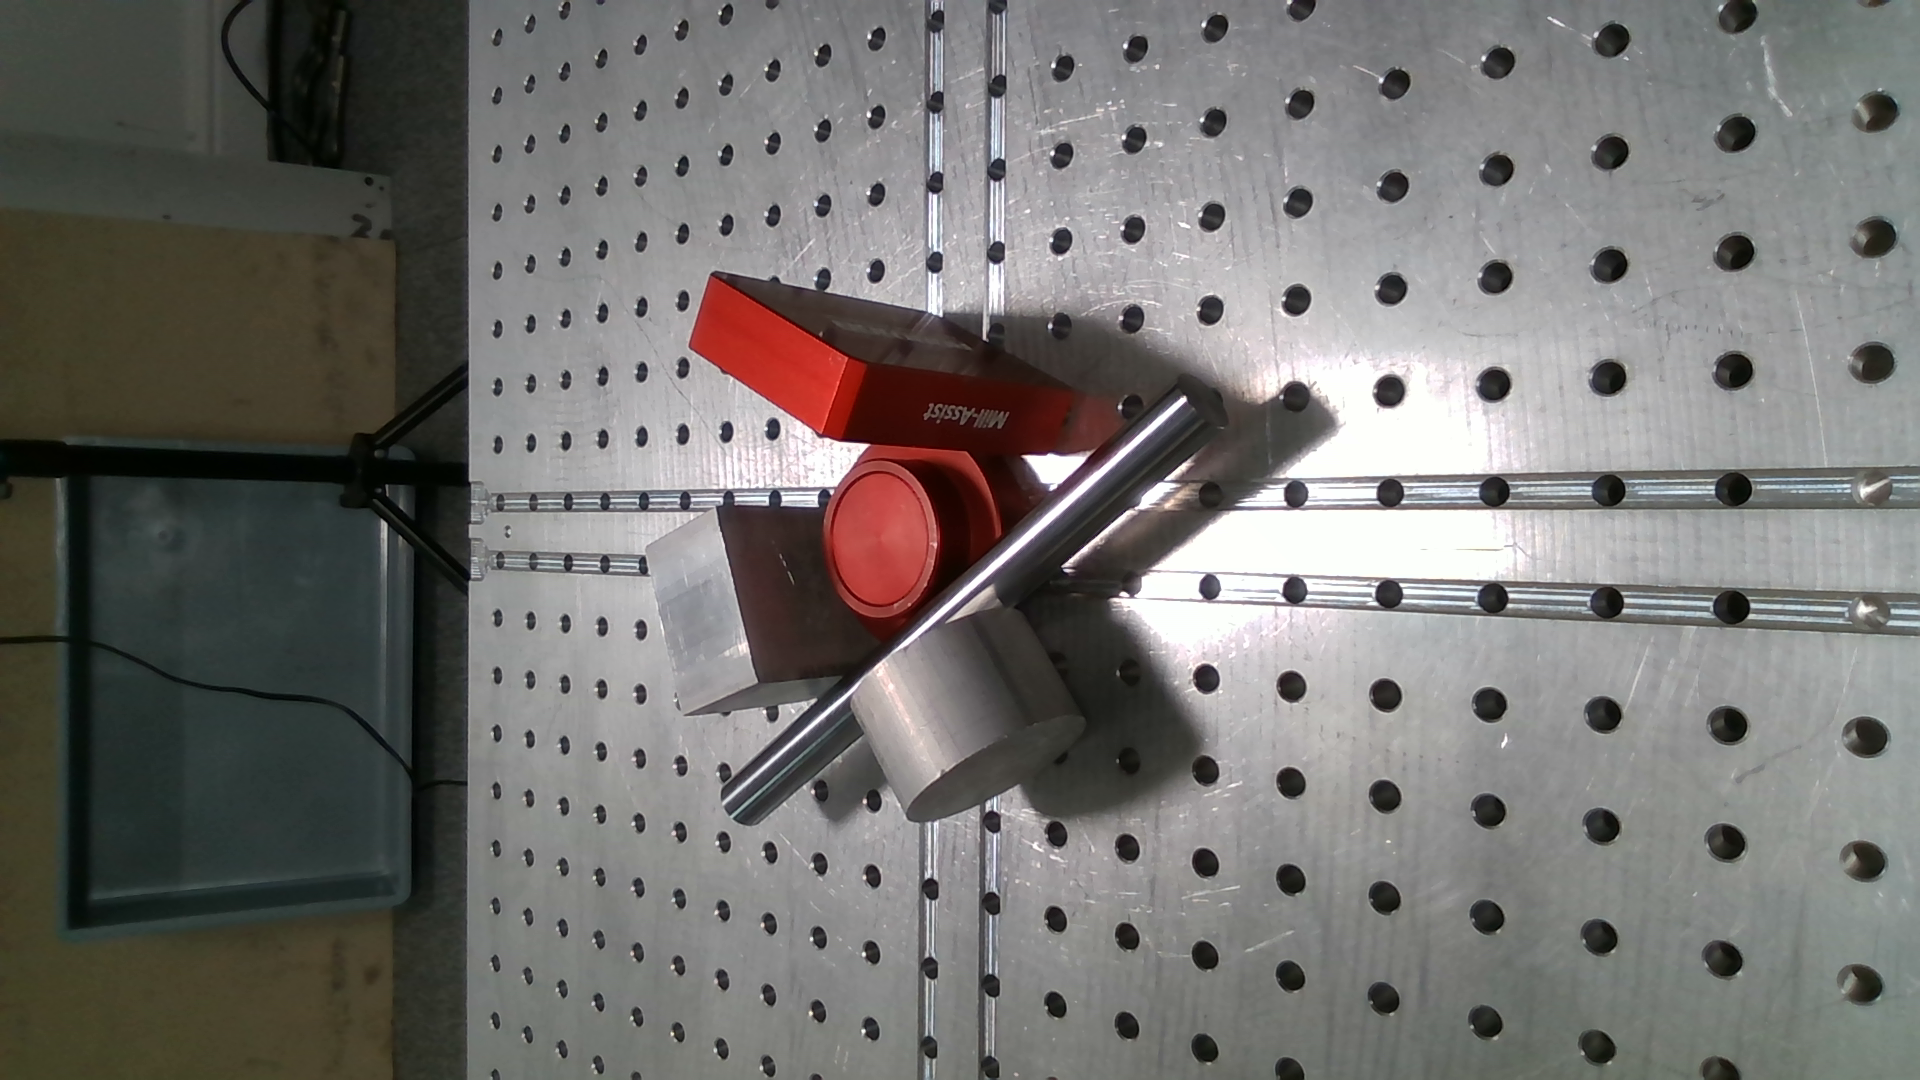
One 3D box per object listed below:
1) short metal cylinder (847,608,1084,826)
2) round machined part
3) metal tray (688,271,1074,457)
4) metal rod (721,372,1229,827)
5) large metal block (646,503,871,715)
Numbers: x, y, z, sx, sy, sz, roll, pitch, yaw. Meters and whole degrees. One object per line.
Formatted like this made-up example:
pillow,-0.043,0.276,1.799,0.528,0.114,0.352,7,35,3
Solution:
short metal cylinder,0.002,0.071,0.547,0.080,0.080,0.050,-45,63,31
round machined part,-0.022,-0.001,0.592,0.098,0.042,0.098,0,91,40
metal tray,-0.028,-0.067,0.540,0.090,0.130,0.030,34,111,35
metal rod,-0.008,0.037,0.564,0.301,0.025,0.025,-43,64,32
large metal block,-0.086,0.030,0.622,0.050,0.080,0.080,-25,75,38
